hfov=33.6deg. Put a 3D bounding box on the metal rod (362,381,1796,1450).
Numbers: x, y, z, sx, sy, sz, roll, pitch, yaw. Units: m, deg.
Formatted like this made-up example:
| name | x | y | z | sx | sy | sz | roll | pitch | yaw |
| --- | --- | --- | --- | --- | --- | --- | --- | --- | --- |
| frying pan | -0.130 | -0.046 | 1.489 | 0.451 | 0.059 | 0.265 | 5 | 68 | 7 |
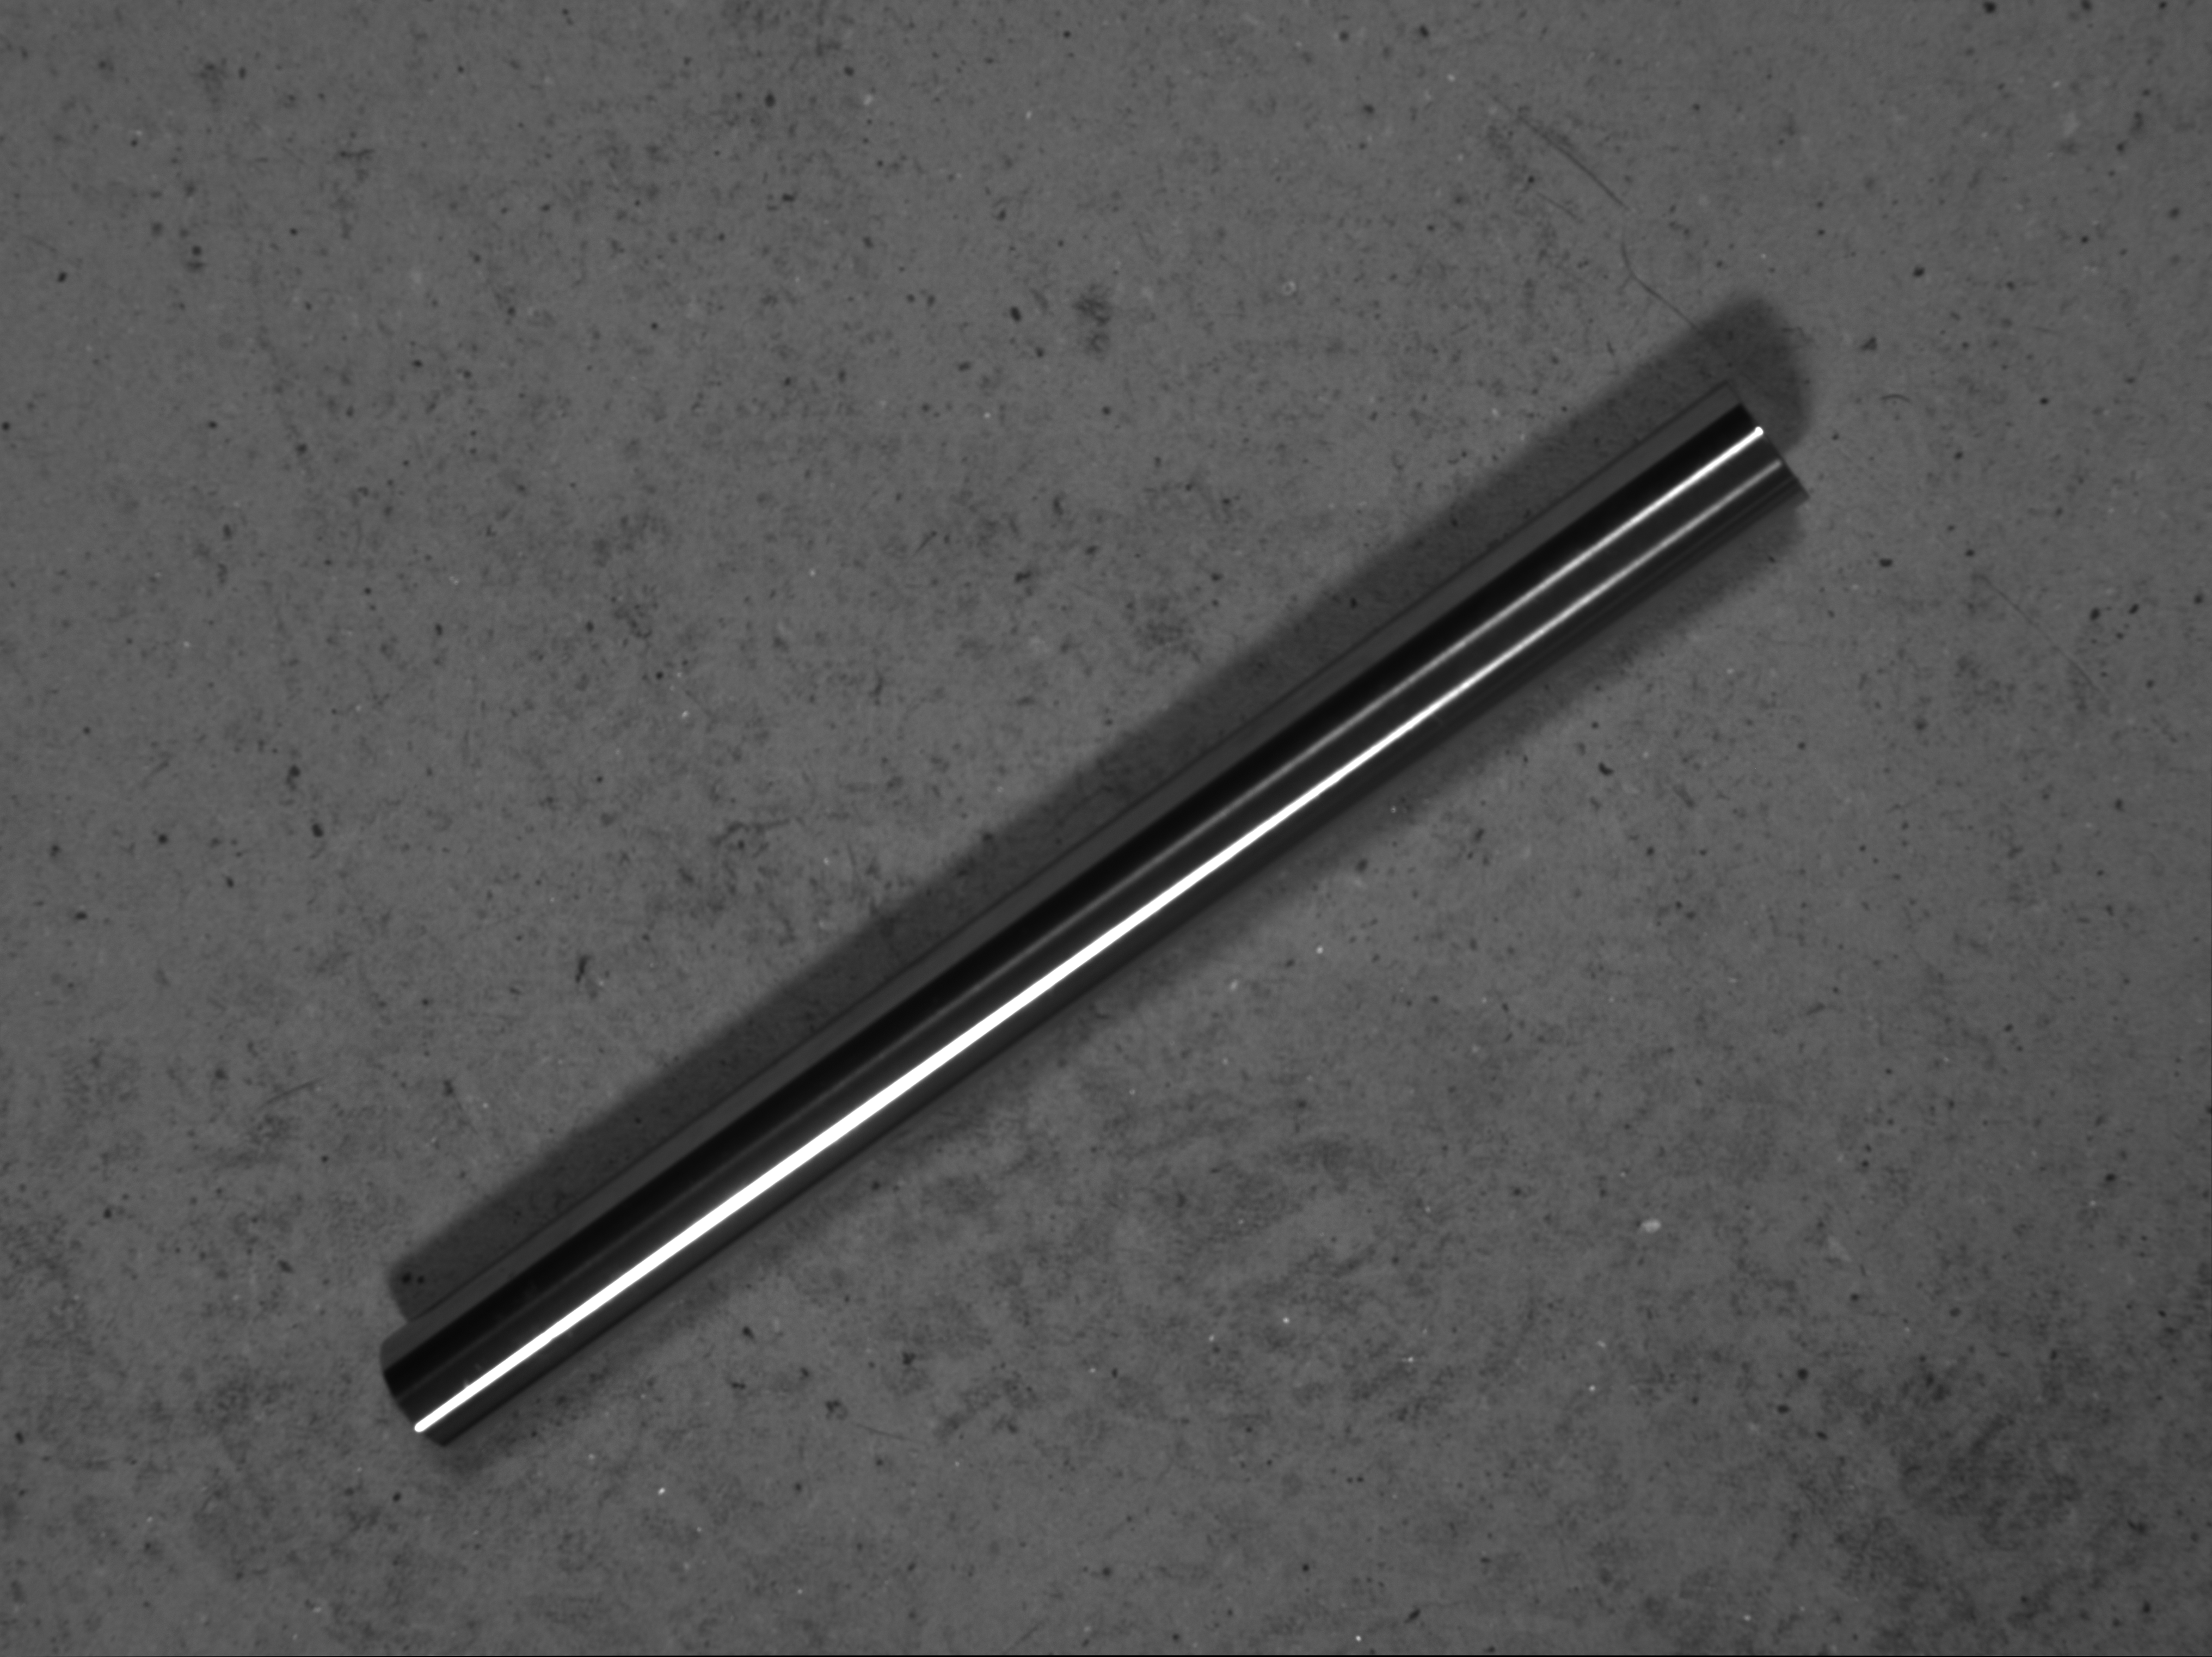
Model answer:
| name | x | y | z | sx | sy | sz | roll | pitch | yaw |
| --- | --- | --- | --- | --- | --- | --- | --- | --- | --- |
| metal rod | -0.010 | 0.019 | 0.650 | 0.300 | 0.025 | 0.025 | -35 | 106 | 11 |
